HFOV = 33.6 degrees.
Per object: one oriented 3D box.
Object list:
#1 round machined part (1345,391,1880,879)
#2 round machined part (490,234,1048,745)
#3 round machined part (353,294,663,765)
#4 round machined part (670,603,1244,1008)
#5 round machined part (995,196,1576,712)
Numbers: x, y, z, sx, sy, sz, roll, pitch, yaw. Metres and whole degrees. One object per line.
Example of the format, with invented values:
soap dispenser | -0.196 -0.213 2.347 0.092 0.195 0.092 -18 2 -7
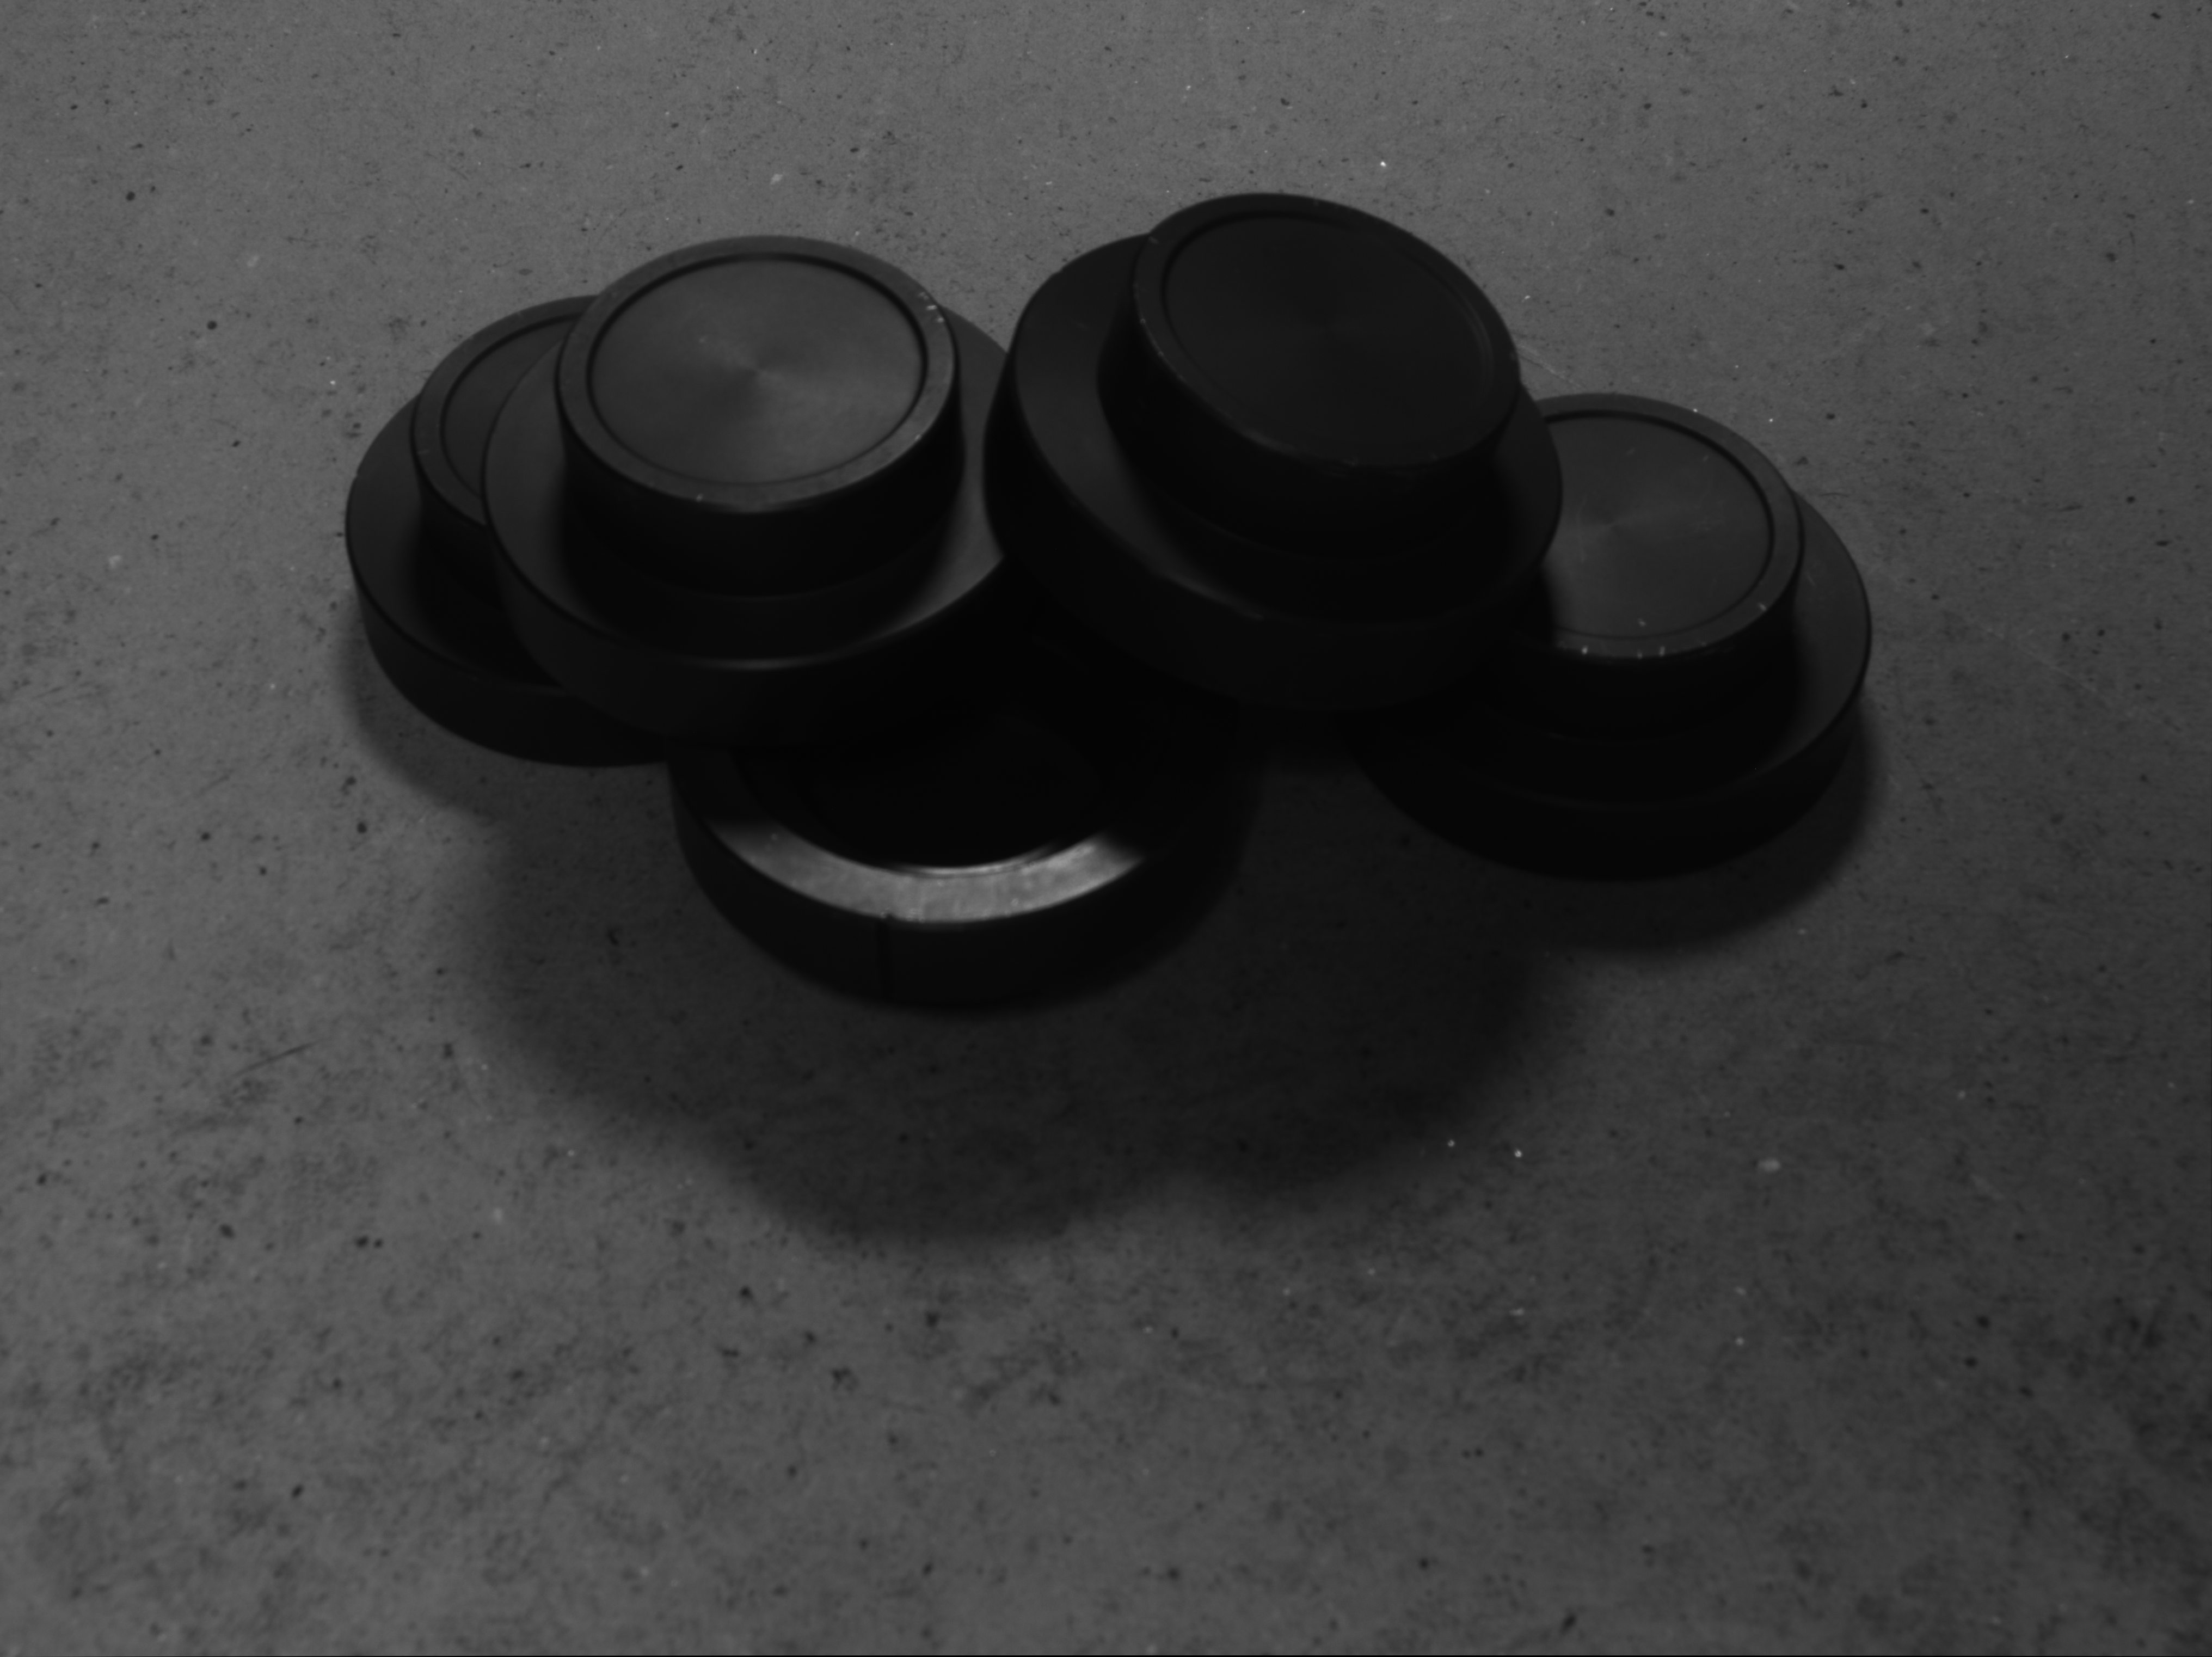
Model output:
round machined part | 0.092 -0.041 0.665 0.098 0.042 0.098 0 50 0
round machined part | -0.057 -0.064 0.630 0.098 0.042 0.098 0 50 0
round machined part | -0.091 -0.062 0.683 0.098 0.042 0.098 0 50 0
round machined part | -0.025 -0.008 0.638 0.098 0.042 0.098 0 50 0
round machined part | 0.033 -0.070 0.621 0.098 0.042 0.098 9 48 -10
